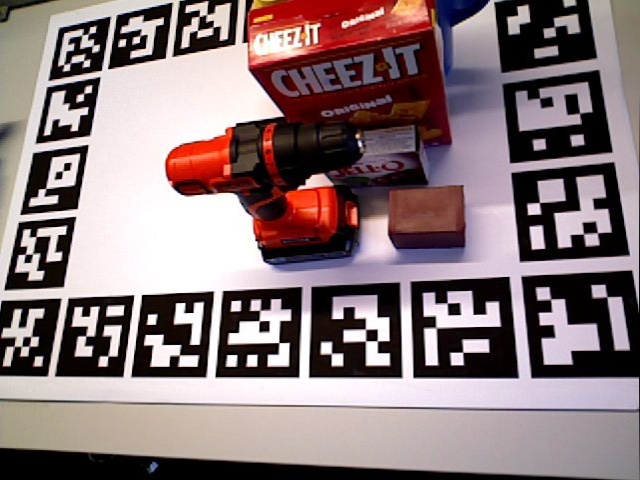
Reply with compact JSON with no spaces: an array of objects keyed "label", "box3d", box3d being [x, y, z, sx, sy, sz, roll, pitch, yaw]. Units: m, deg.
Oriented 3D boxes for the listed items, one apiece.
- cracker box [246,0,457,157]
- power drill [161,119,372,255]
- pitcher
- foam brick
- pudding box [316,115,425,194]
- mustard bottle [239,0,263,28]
[{"label":"cracker box","box3d":[0.043,-0.152,0.540,0.165,0.214,0.071,-6,68,18]},{"label":"power drill","box3d":[-0.030,-0.047,0.516,0.185,0.188,0.057,-5,67,15]},{"label":"pitcher","box3d":[0.089,-0.254,0.551,0.190,0.243,0.132,2,73,20]},{"label":"foam brick","box3d":[0.112,-0.020,0.573,0.078,0.051,0.052,-2,74,17]},{"label":"pudding box","box3d":[0.050,-0.088,0.578,0.114,0.090,0.038,-4,69,19]},{"label":"mustard bottle","box3d":[-0.035,-0.241,0.600,0.096,0.192,0.058,10,76,20]}]
